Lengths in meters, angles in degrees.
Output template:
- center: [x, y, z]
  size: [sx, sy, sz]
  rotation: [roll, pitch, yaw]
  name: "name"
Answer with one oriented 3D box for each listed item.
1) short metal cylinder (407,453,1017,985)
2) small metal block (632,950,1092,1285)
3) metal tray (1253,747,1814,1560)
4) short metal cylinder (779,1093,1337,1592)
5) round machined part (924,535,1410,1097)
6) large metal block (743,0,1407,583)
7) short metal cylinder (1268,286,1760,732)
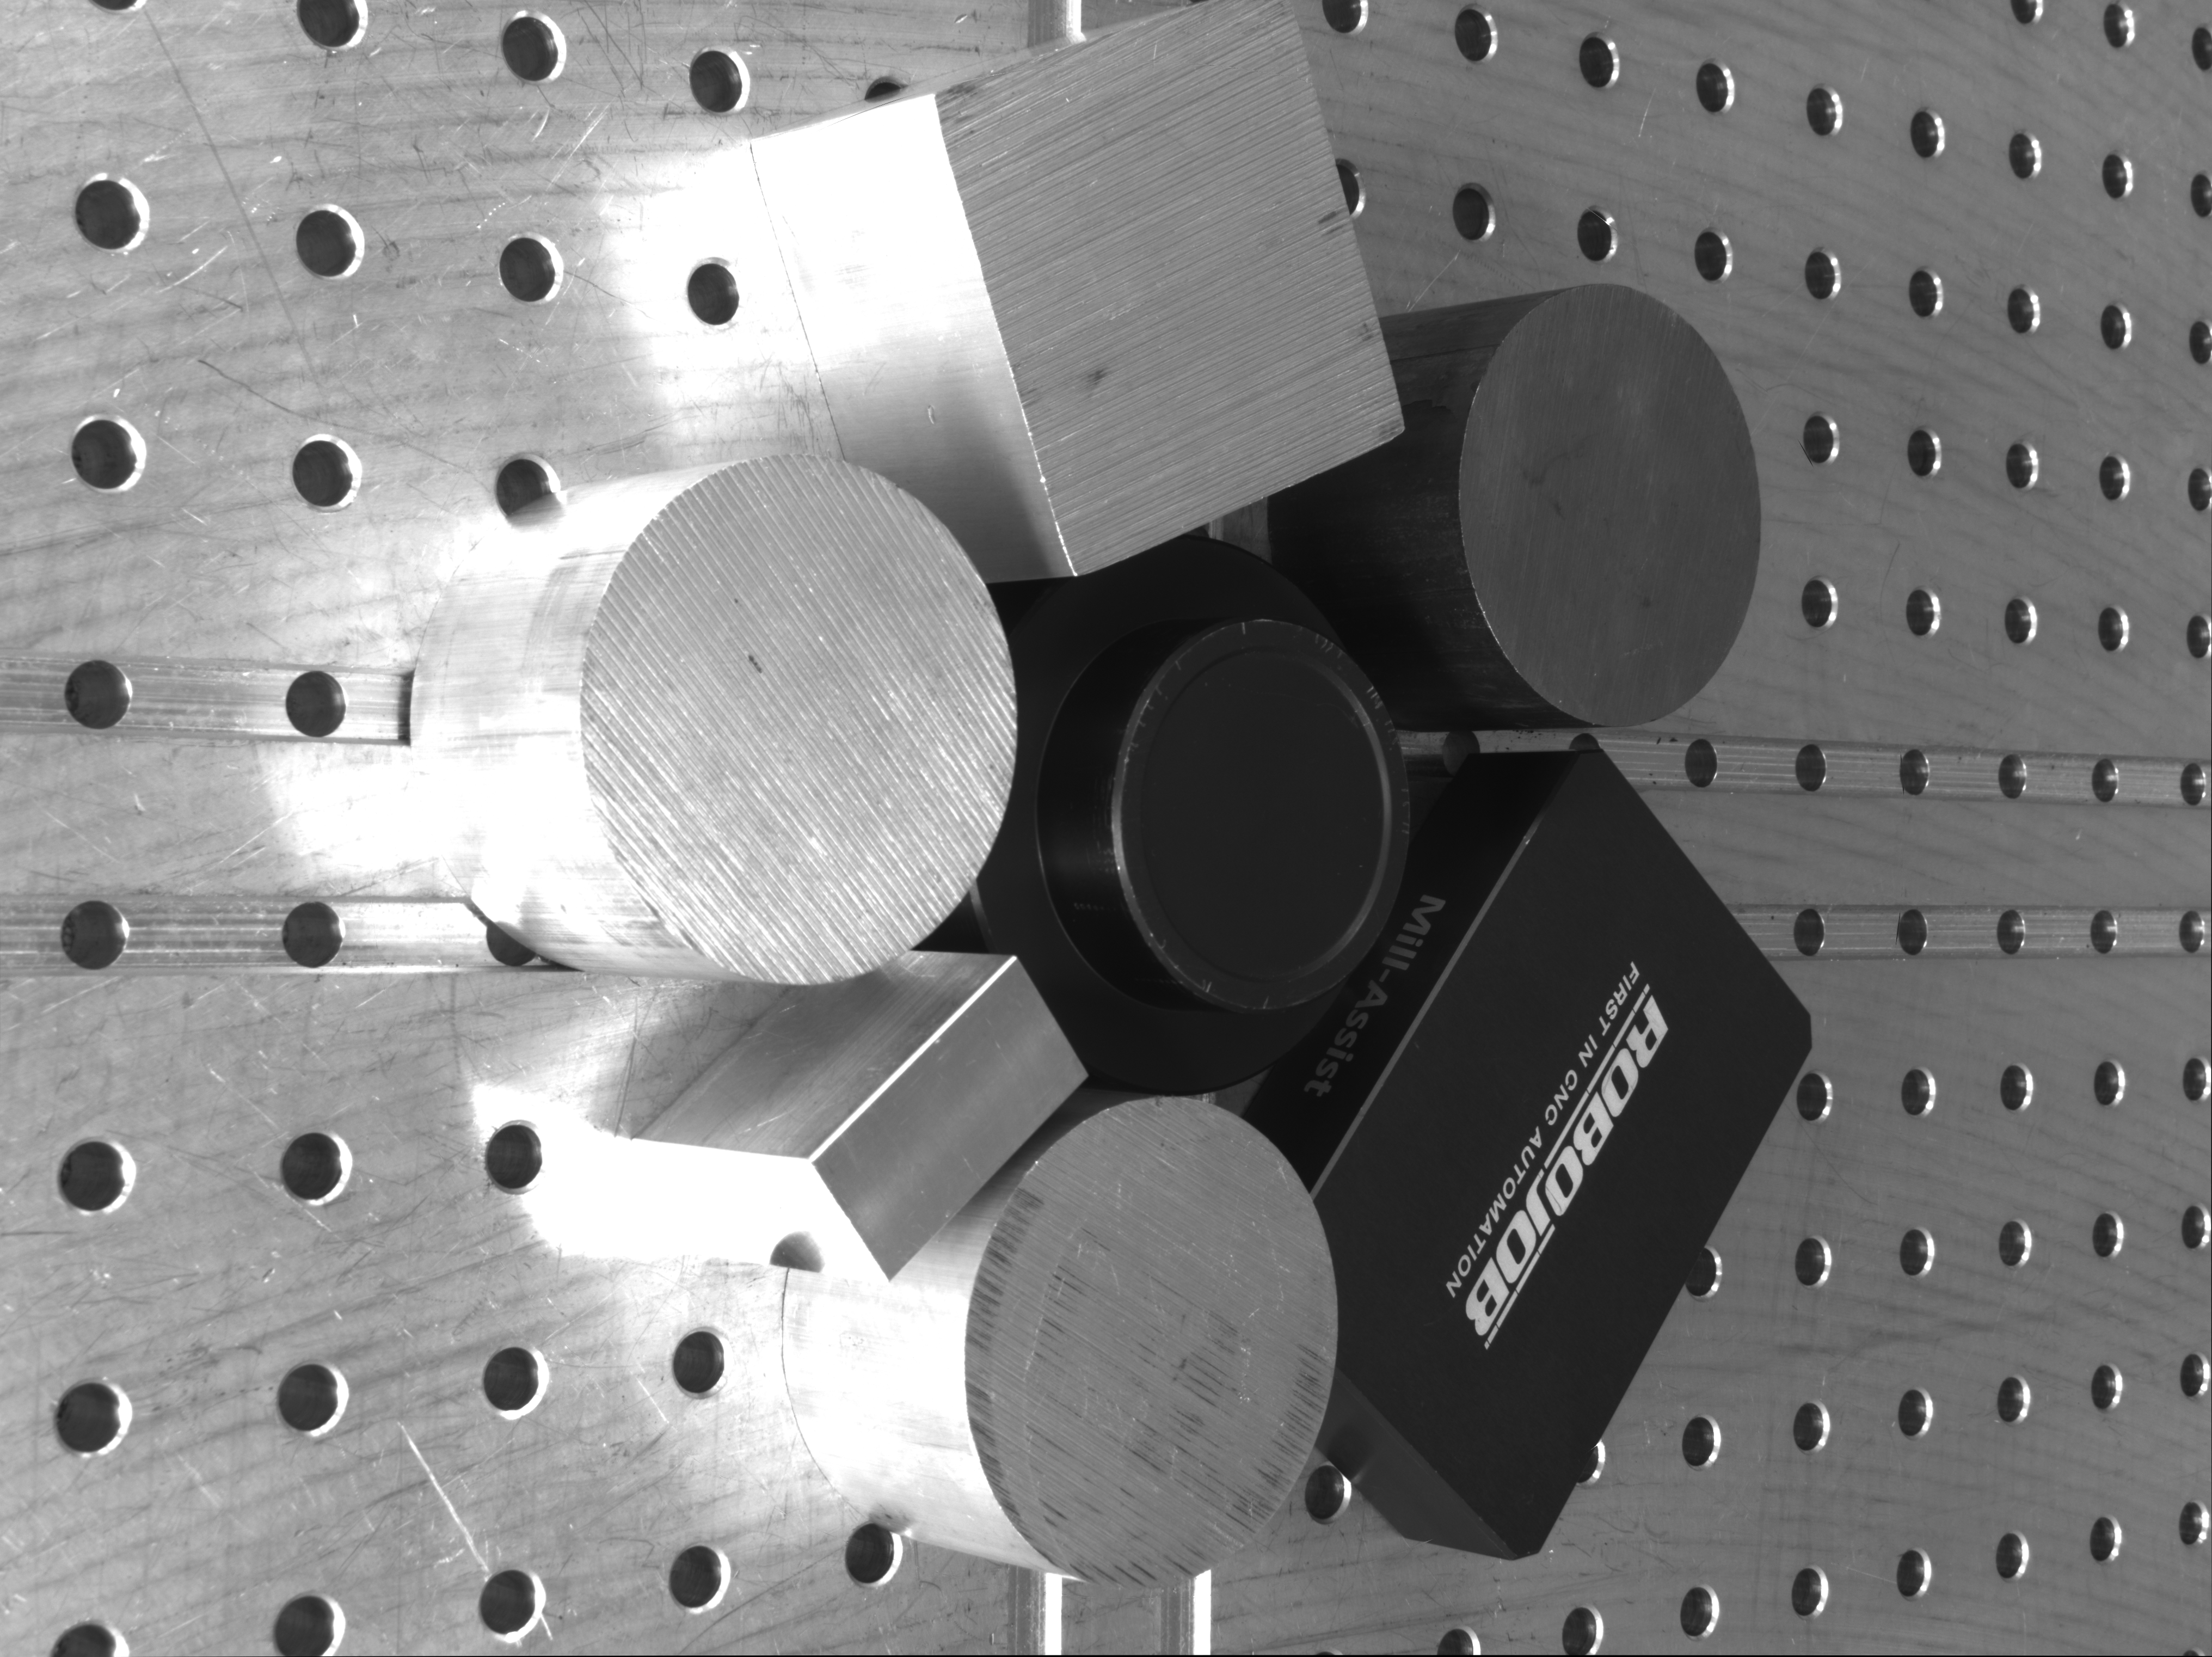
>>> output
- center: [-0.061, -0.016, 0.571]
  size: [0.080, 0.050, 0.080]
  rotation: [0, 90, -40]
  name: "short metal cylinder"
- center: [-0.039, 0.045, 0.589]
  size: [0.050, 0.050, 0.025]
  rotation: [-45, 116, -31]
  name: "small metal block"
- center: [0.076, 0.060, 0.697]
  size: [0.090, 0.030, 0.130]
  rotation: [48, 61, -29]
  name: "metal tray"
- center: [-0.008, 0.084, 0.615]
  size: [0.080, 0.050, 0.080]
  rotation: [0, 90, -40]
  name: "short metal cylinder"
- center: [0.015, -0.002, 0.639]
  size: [0.098, 0.042, 0.098]
  rotation: [0, 90, -40]
  name: "round machined part"
- center: [-0.004, -0.092, 0.620]
  size: [0.080, 0.050, 0.080]
  rotation: [-27, 107, -37]
  name: "large metal block"
- center: [0.077, -0.058, 0.686]
  size: [0.080, 0.050, 0.080]
  rotation: [0, 90, -40]
  name: "short metal cylinder"
